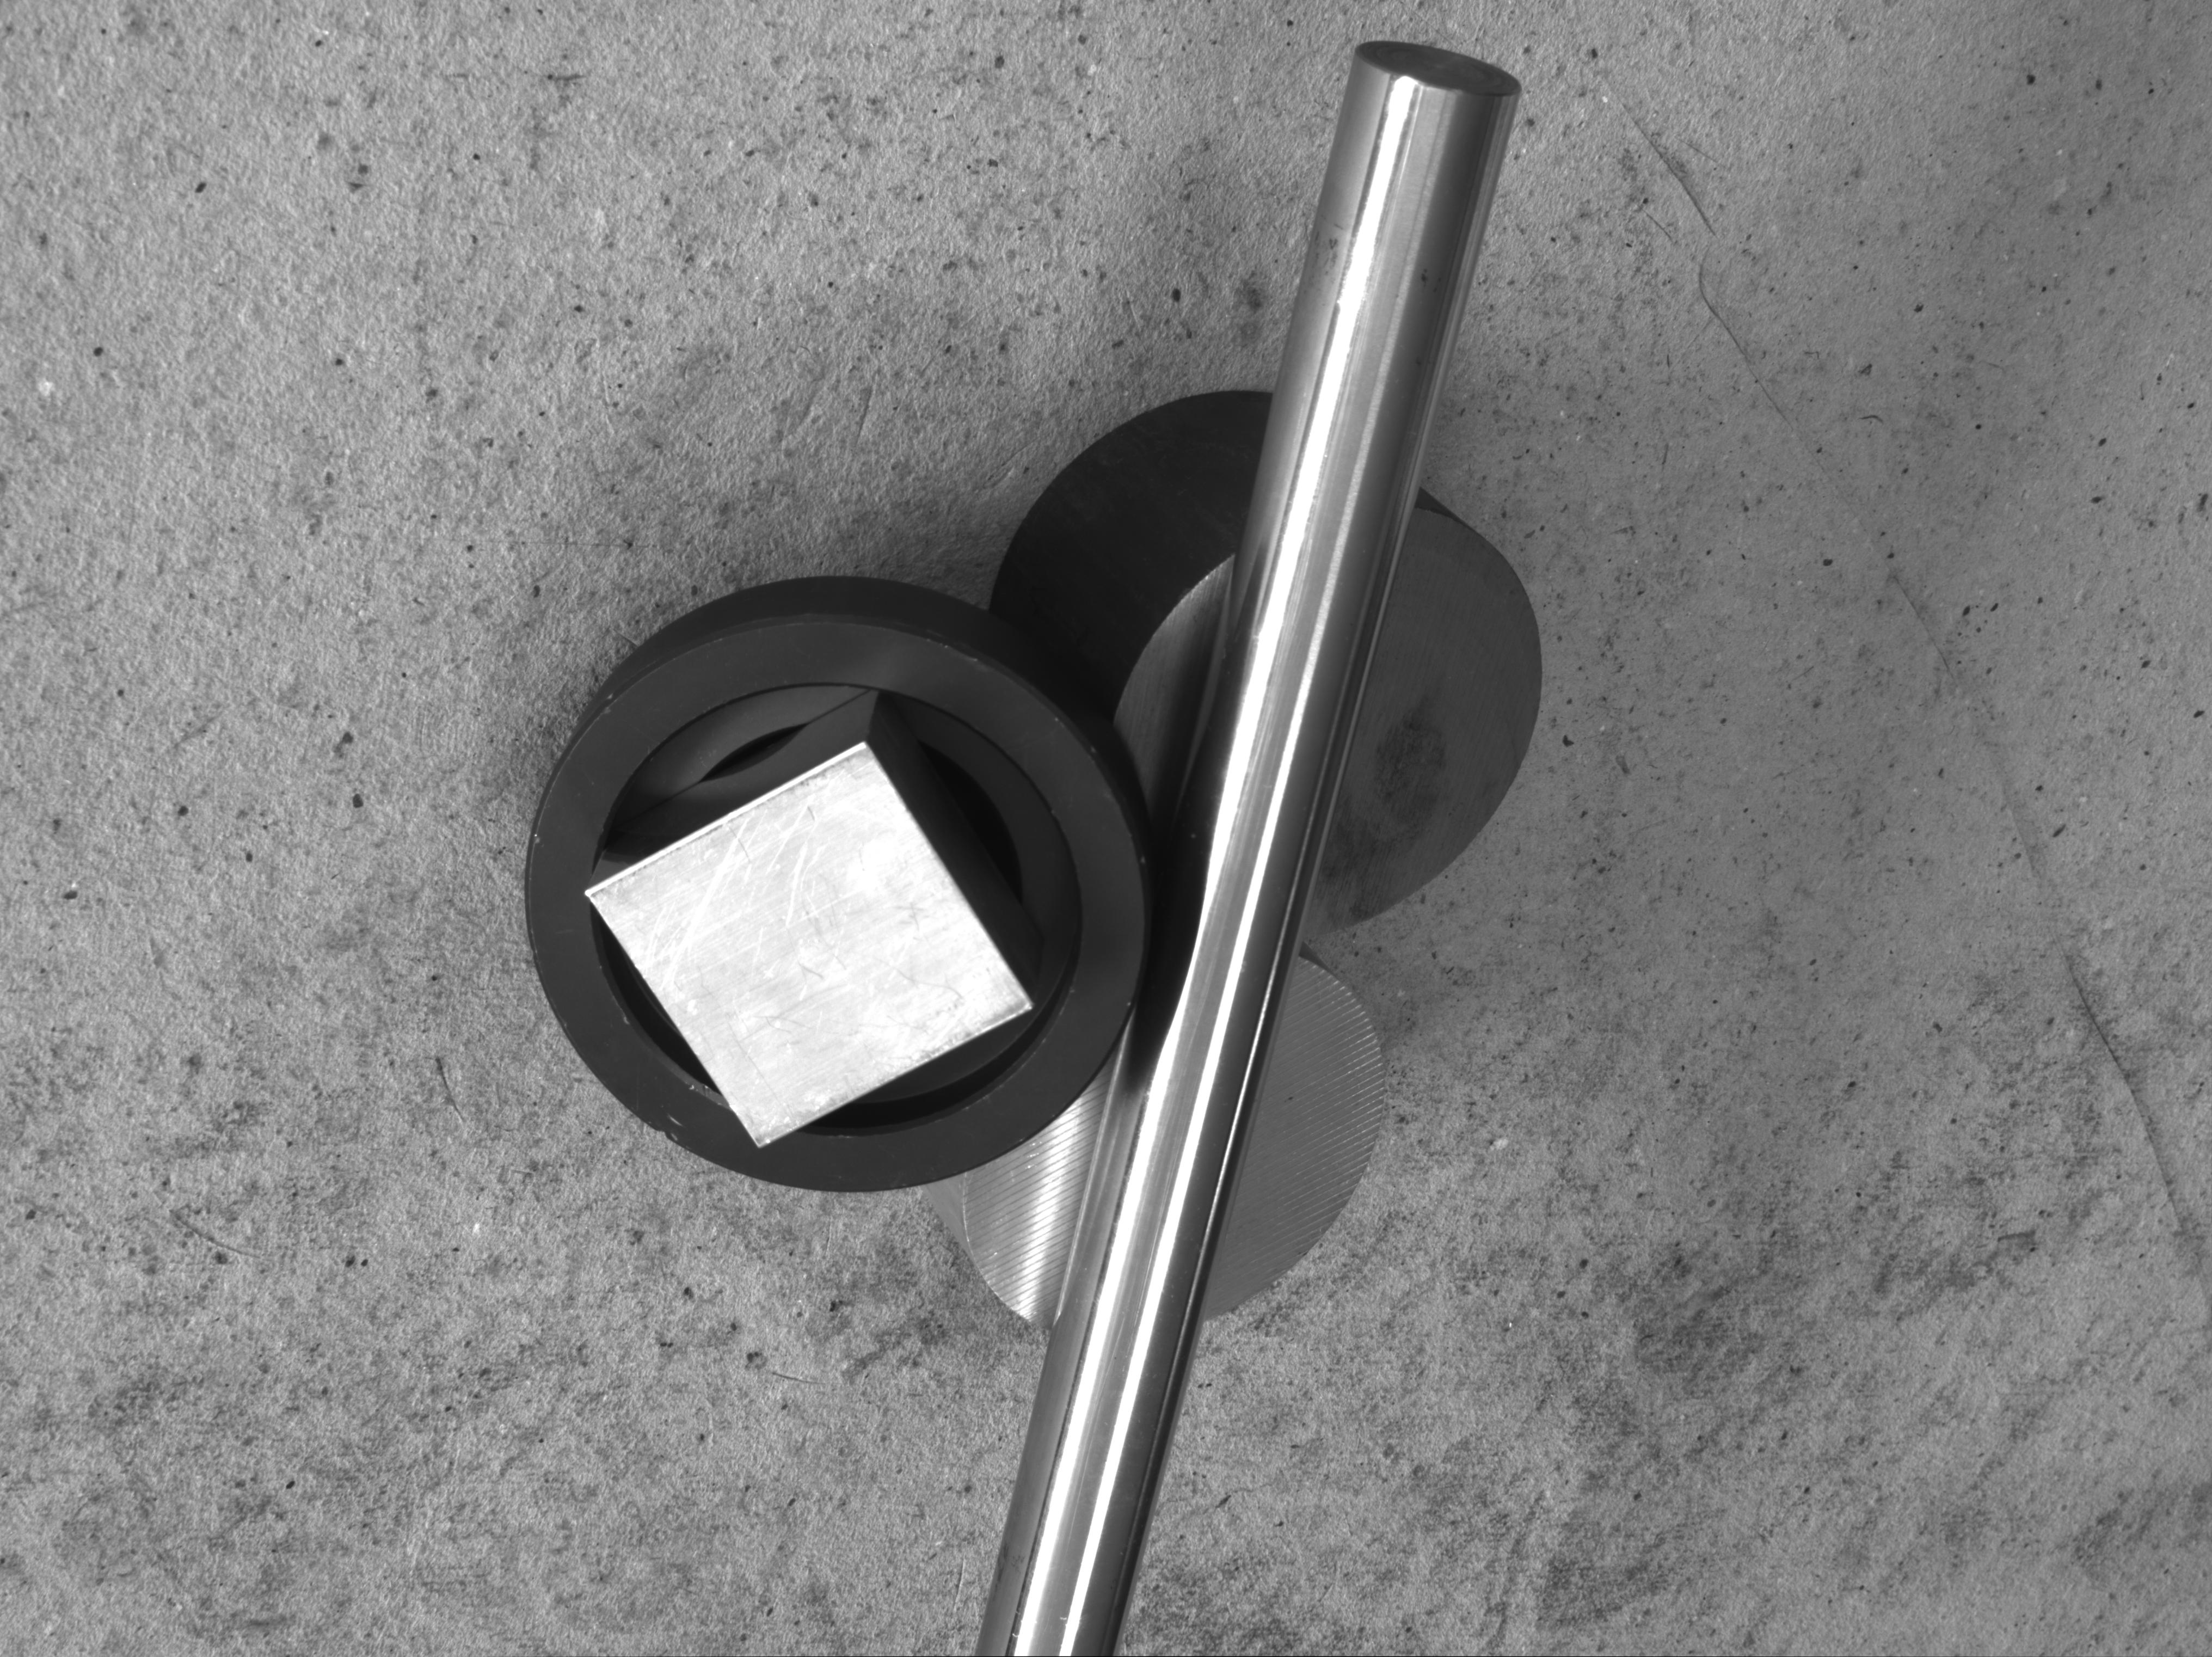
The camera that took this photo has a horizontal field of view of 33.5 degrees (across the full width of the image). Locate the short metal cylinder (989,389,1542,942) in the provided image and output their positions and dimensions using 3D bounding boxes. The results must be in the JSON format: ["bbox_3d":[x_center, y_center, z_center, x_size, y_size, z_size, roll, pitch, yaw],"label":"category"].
[{"bbox_3d":[0.026,-0.027,0.620,0.080,0.050,0.080,-13,124,-21],"label":"short metal cylinder"}]

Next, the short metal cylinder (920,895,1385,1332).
[{"bbox_3d":[0.002,0.044,0.649,0.080,0.050,0.080,-13,123,-21],"label":"short metal cylinder"}]

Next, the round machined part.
[{"bbox_3d":[-0.041,0.006,0.592,0.098,0.042,0.098,1,112,3],"label":"round machined part"}]

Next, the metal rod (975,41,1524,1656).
[{"bbox_3d":[0.018,0.022,0.597,0.025,0.025,0.300,-1,118,-28],"label":"metal rod"}]

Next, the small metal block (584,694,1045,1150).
[{"bbox_3d":[-0.044,0.014,0.571,0.050,0.025,0.050,-27,108,13],"label":"small metal block"}]
